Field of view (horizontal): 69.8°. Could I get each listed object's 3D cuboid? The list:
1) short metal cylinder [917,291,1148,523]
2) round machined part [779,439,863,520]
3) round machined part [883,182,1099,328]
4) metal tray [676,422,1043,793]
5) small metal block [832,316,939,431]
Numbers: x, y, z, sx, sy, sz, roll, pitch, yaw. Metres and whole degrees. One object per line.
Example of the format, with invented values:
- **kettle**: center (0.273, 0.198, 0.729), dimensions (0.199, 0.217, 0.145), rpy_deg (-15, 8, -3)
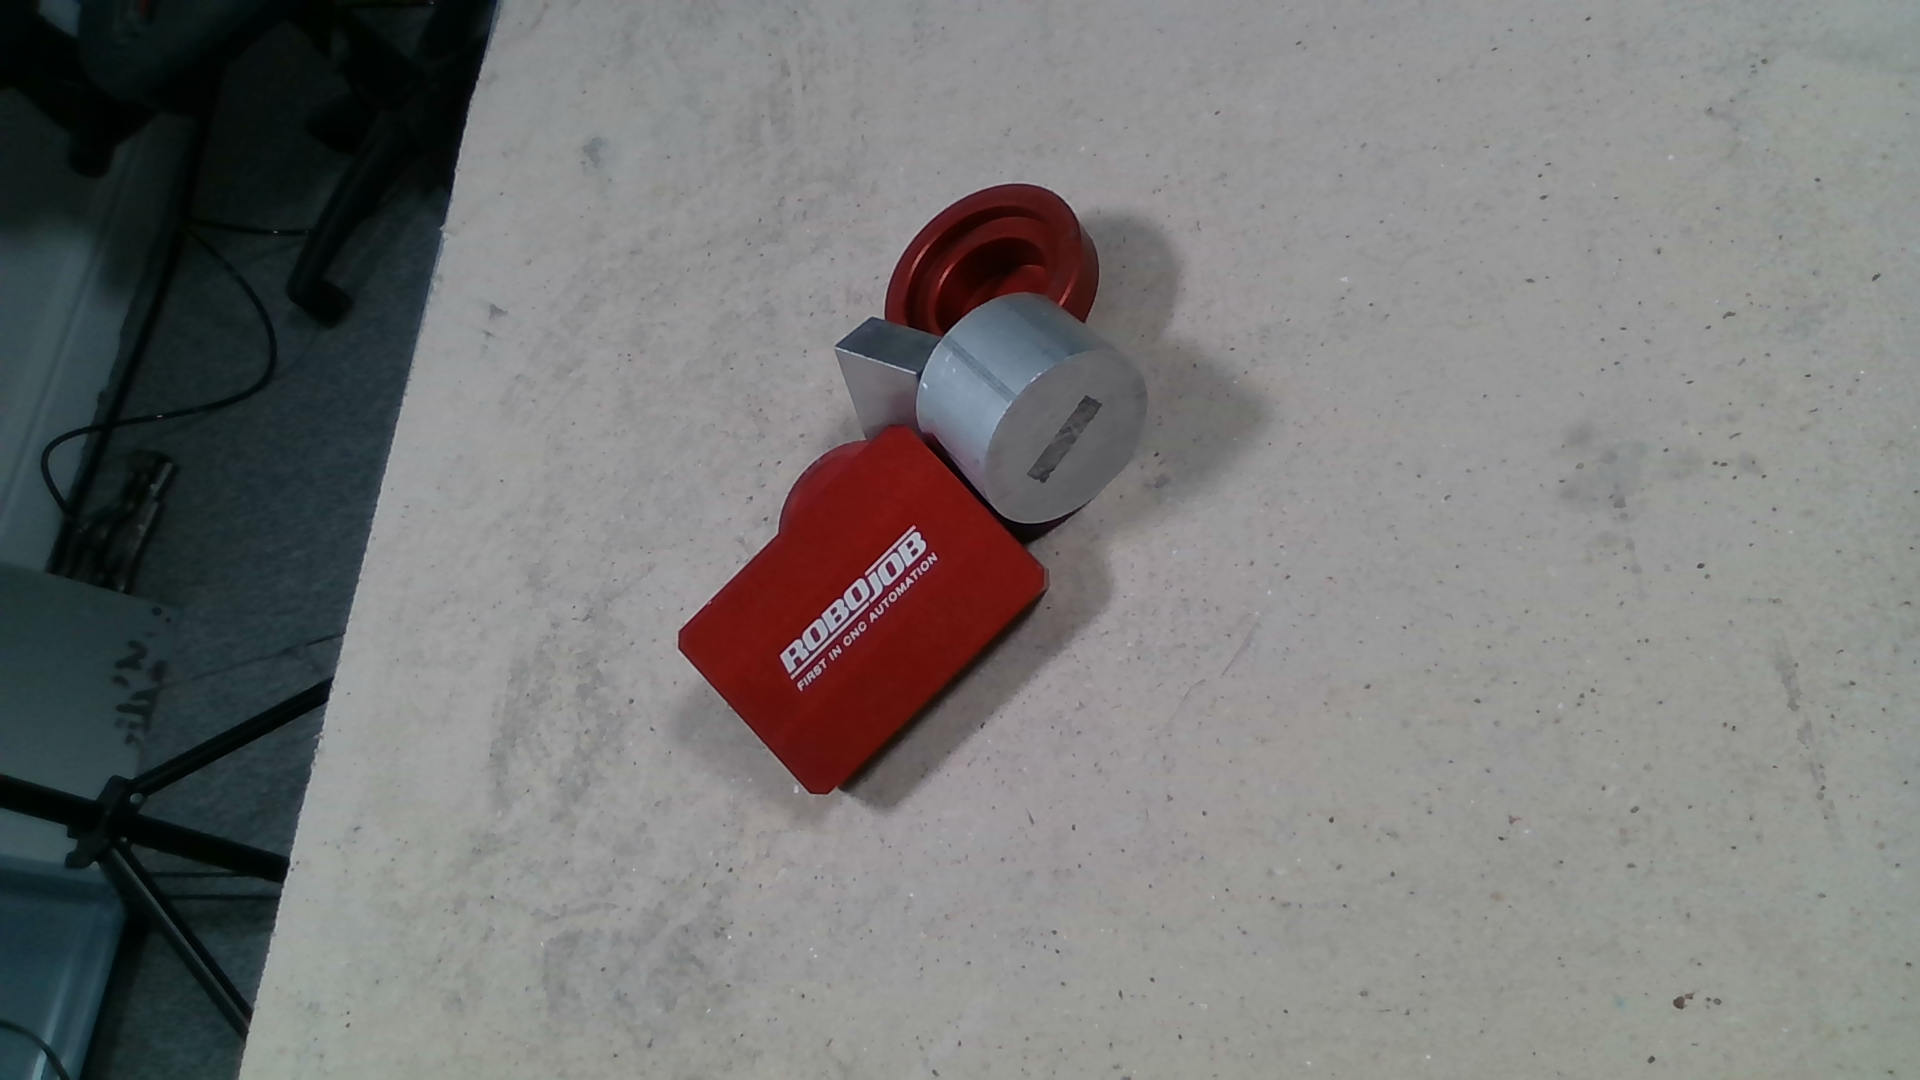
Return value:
- **short metal cylinder**: center (0.030, -0.054, 0.562), dimensions (0.080, 0.080, 0.050), rpy_deg (-46, 51, 3)
- **round machined part**: center (-0.041, -0.005, 0.602), dimensions (0.098, 0.042, 0.098), rpy_deg (-14, 59, 25)
- **round machined part**: center (0.018, -0.108, 0.621), dimensions (0.098, 0.042, 0.098), rpy_deg (-14, 59, 25)
- **metal tray**: center (-0.040, 0.028, 0.564), dimensions (0.130, 0.030, 0.090), rpy_deg (-44, 83, 4)
- **small metal block**: center (-0.023, -0.064, 0.595), dimensions (0.050, 0.050, 0.025), rpy_deg (22, 54, 37)
